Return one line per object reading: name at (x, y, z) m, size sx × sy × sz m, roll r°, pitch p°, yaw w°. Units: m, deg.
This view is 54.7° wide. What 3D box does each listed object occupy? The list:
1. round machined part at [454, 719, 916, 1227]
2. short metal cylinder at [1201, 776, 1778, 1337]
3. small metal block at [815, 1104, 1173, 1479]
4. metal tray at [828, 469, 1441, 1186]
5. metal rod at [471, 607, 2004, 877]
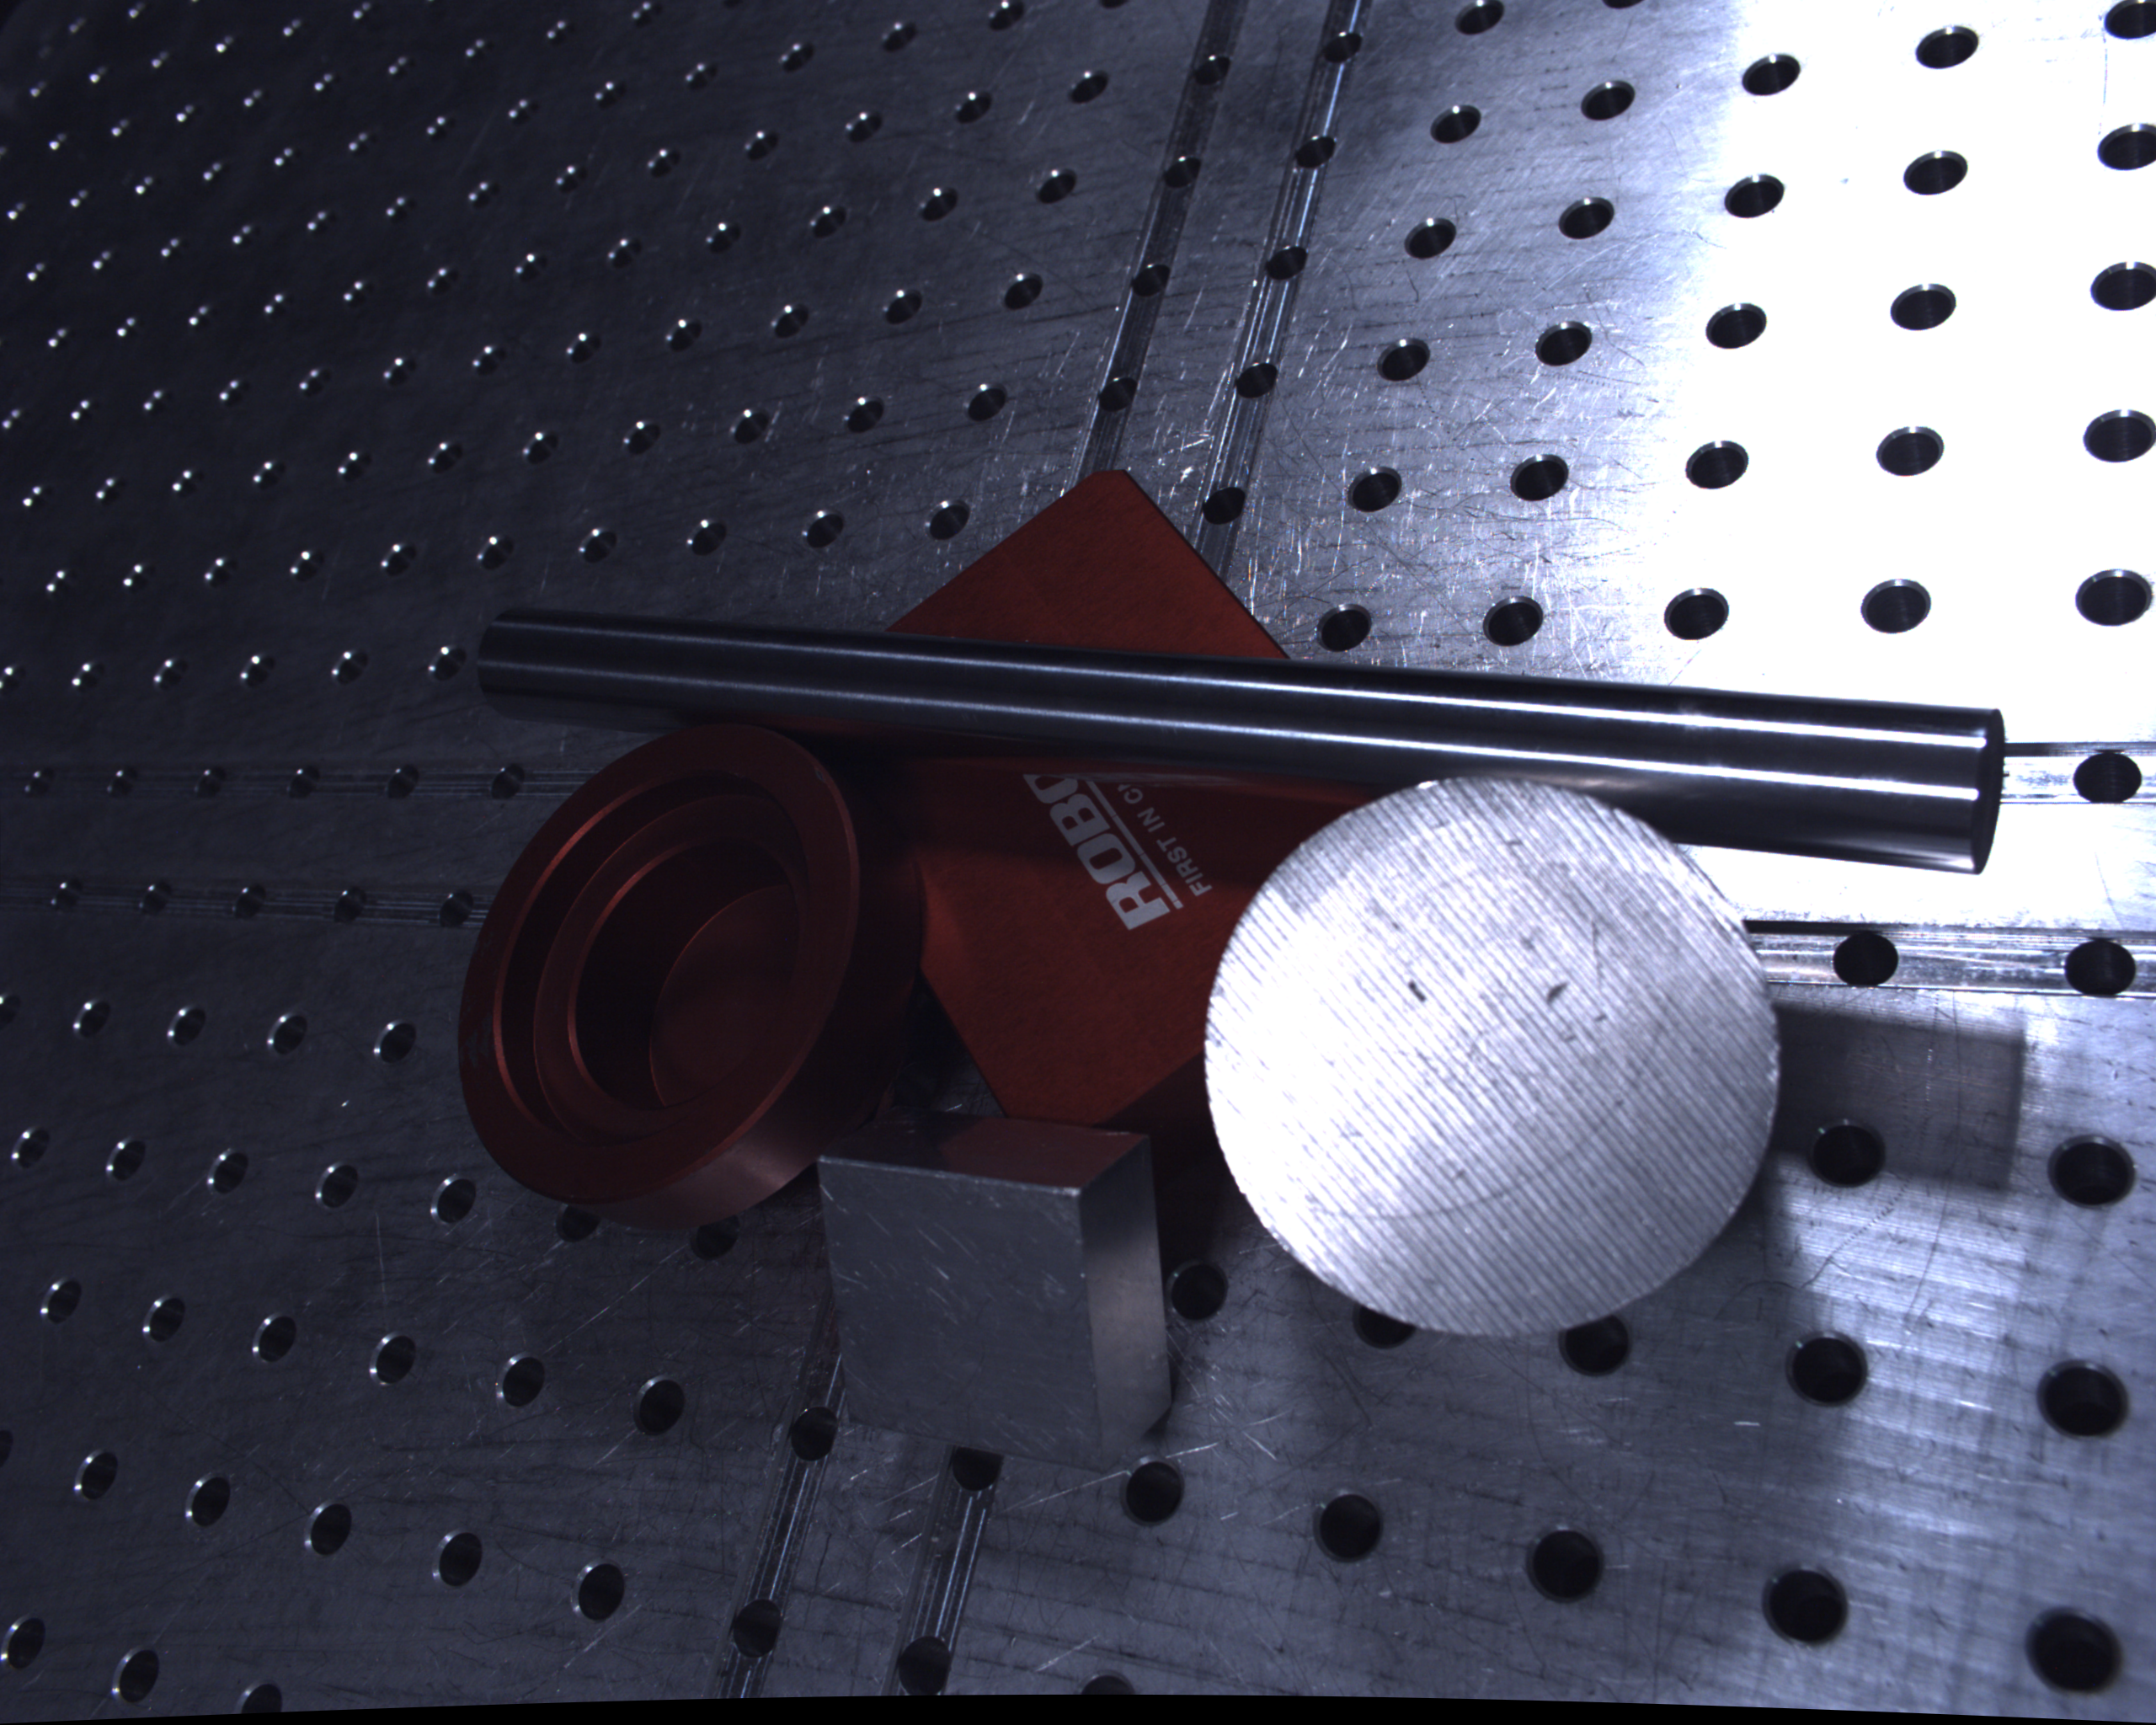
round machined part at (-0.072, 0.024, 0.412) m, size 0.098 × 0.042 × 0.098 m, roll -14°, pitch 61°, yaw 27°
short metal cylinder at (0.062, 0.030, 0.320) m, size 0.080 × 0.050 × 0.080 m, roll -2°, pitch 81°, yaw 11°
small metal block at (-0.014, 0.071, 0.353) m, size 0.050 × 0.025 × 0.050 m, roll 3°, pitch 106°, yaw 28°
metal tray at (0.007, -0.010, 0.407) m, size 0.090 × 0.030 × 0.130 m, roll -37°, pitch 51°, yaw 3°
metal rod at (0.005, -0.027, 0.381) m, size 0.300 × 0.025 × 0.025 m, roll 7°, pitch 65°, yaw 31°
